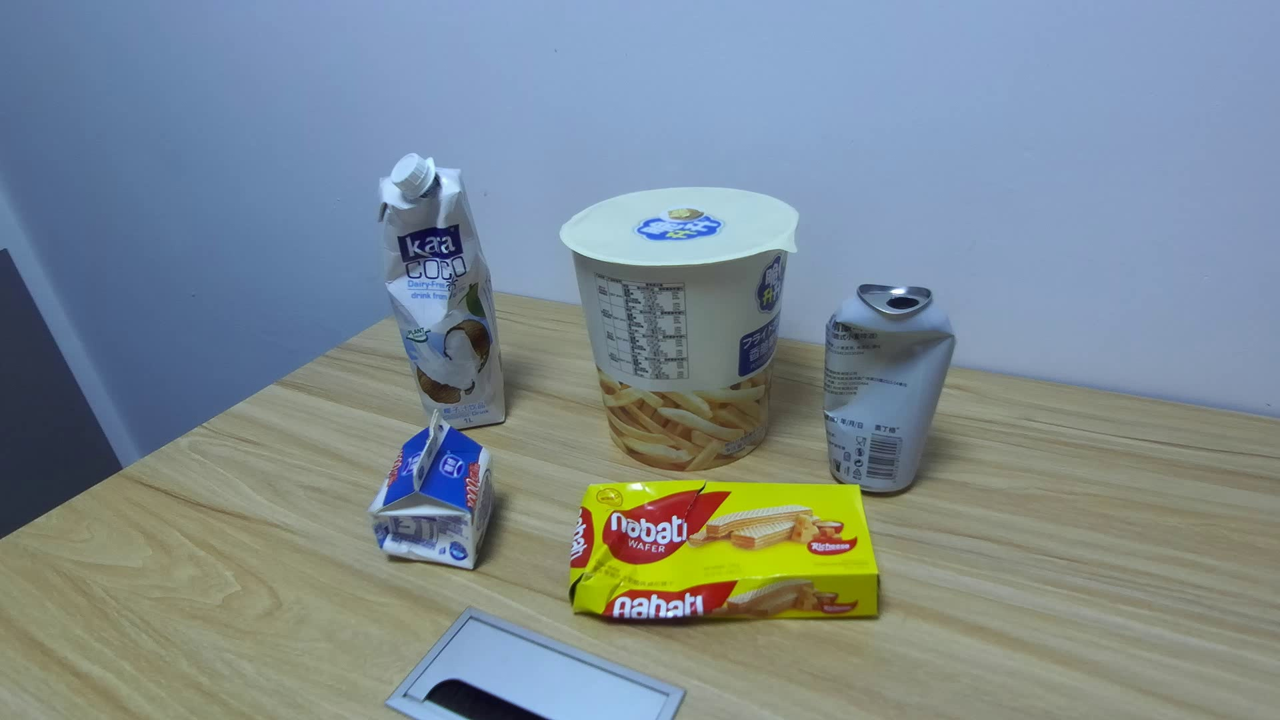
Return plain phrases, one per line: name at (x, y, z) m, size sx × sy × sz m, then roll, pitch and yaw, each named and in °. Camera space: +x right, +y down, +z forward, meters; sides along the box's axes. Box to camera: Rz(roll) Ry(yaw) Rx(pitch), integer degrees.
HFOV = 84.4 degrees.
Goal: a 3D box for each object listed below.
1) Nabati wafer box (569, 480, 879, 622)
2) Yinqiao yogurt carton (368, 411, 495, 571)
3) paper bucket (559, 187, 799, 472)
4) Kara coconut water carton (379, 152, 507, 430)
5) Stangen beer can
Nabati wafer box at (0.053, 0.131, 0.487) m, size 0.204 × 0.042 × 0.107 m, roll -1°, pitch 27°, yaw 7°
Yinqiao yogurt carton at (-0.155, 0.094, 0.521) m, size 0.080 × 0.097 × 0.074 m, roll 2°, pitch 31°, yaw 0°
paper bucket at (0.037, -0.027, 0.608) m, size 0.198 × 0.195 × 0.198 m, roll -3°, pitch 30°, yaw 2°
Kara coconut water carton at (-0.177, -0.059, 0.629) m, size 0.083 × 0.256 × 0.078 m, roll -1°, pitch 32°, yaw 4°
Stangen beer can at (0.185, 0.023, 0.535) m, size 0.077 × 0.162 × 0.065 m, roll -15°, pitch 32°, yaw -18°
